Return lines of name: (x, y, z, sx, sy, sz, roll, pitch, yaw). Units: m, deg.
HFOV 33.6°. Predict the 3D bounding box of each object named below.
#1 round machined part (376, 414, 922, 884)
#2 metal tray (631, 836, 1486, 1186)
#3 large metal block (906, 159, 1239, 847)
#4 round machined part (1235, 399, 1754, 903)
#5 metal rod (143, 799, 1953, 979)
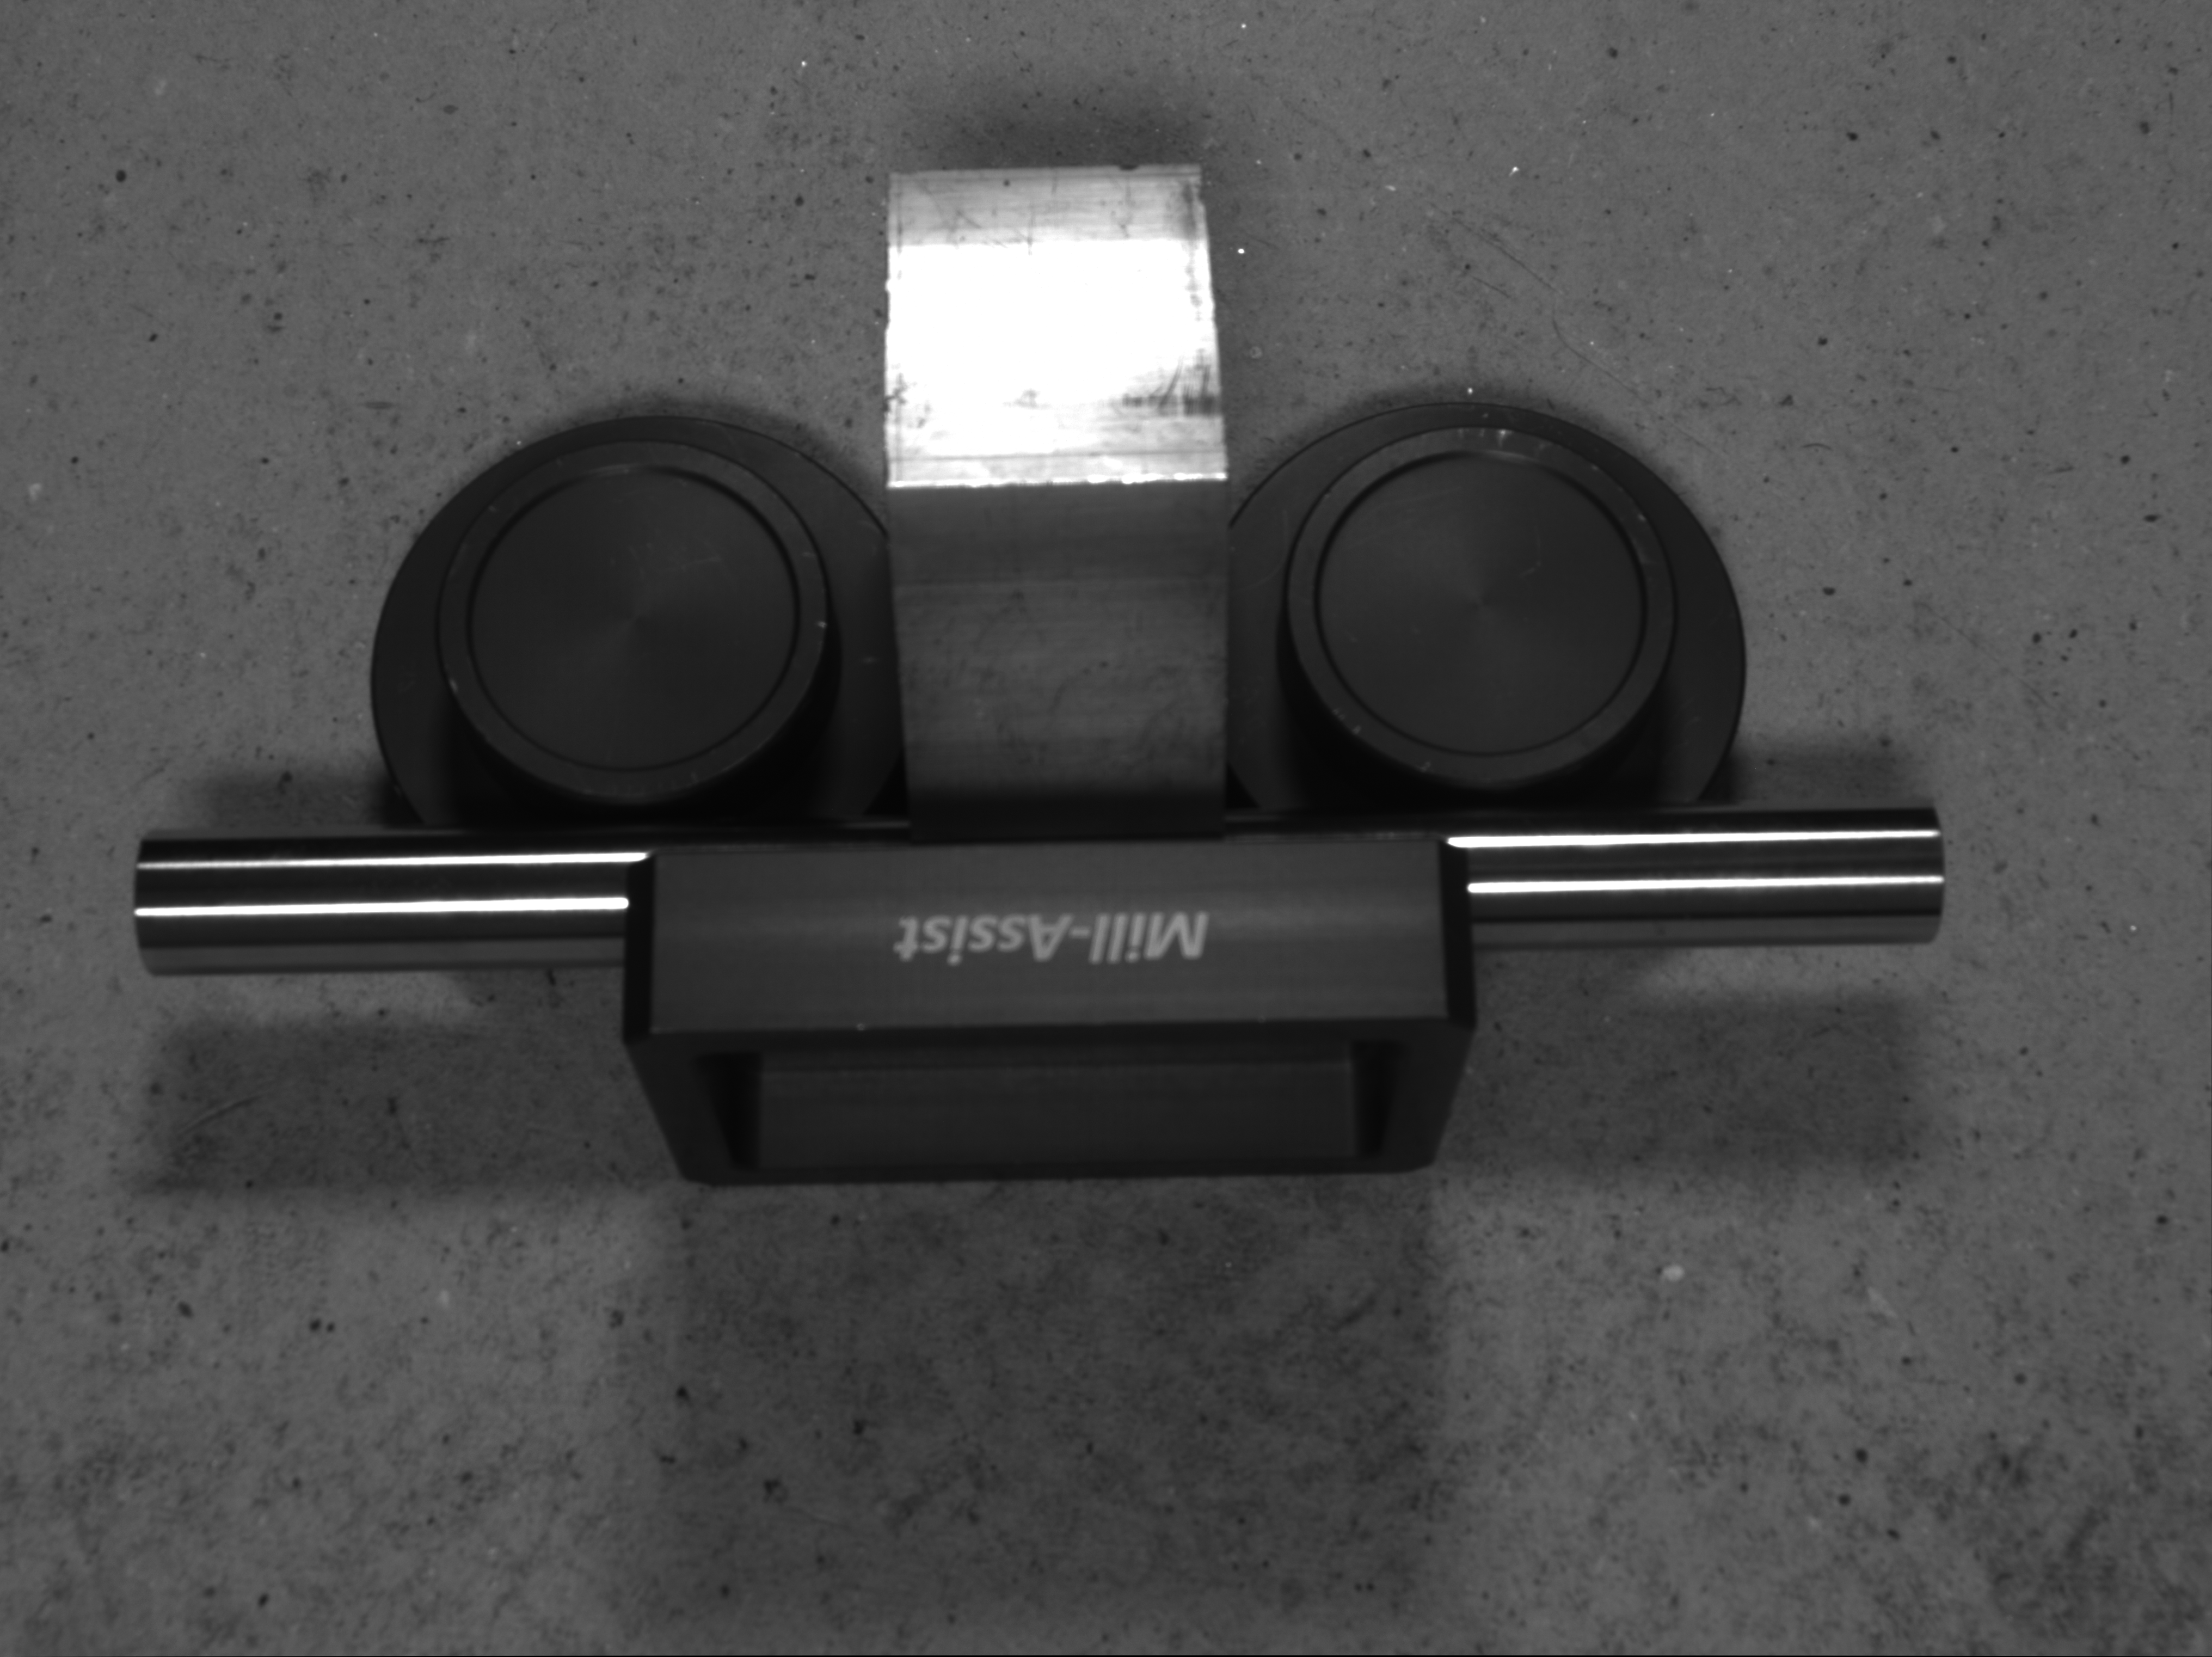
round machined part: (-0.080, -0.029, 0.645, 0.098, 0.042, 0.098, 0, 70, 0)
metal tray: (-0.007, 0.032, 0.599, 0.130, 0.090, 0.030, -1, 70, 0)
large metal block: (-0.006, -0.054, 0.607, 0.050, 0.080, 0.080, -2, 46, -1)
round machined part: (0.066, -0.032, 0.647, 0.098, 0.042, 0.098, 0, 70, 0)
metal rod: (-0.009, 0.010, 0.619, 0.300, 0.025, 0.025, -1, 70, 0)
